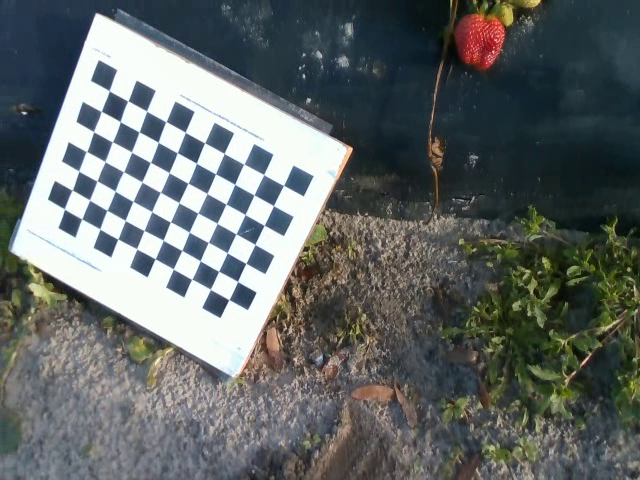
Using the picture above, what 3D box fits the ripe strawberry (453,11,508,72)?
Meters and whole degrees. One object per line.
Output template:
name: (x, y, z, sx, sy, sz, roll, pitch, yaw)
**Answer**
ripe strawberry: (0.148, -0.180, 0.518, 0.047, 0.050, 0.034, 7, 6, 9)
